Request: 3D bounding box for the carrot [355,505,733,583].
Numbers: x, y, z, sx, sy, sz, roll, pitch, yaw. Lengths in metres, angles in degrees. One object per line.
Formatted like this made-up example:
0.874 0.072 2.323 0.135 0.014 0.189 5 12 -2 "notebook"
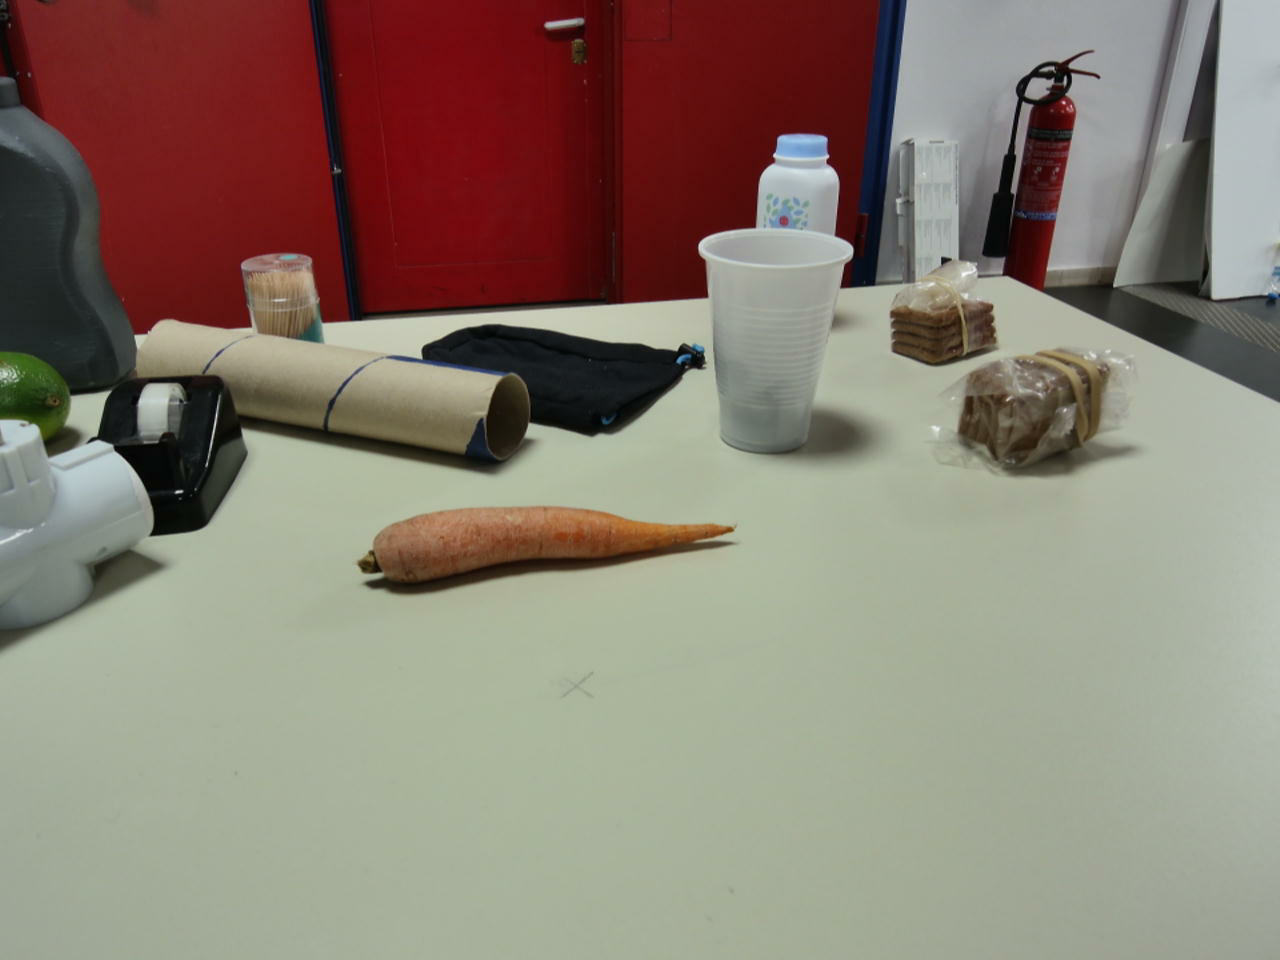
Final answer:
-0.038 0.023 0.439 0.163 0.029 0.031 -5 25 -12 "carrot"
